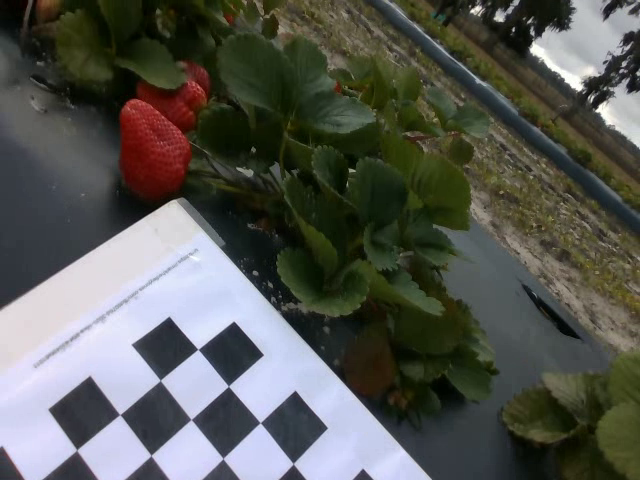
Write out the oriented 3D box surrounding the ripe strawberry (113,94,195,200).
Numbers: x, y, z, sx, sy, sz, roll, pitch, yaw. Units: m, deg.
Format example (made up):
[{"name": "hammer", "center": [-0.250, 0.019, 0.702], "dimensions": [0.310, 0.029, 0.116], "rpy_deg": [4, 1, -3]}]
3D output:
[{"name": "ripe strawberry", "center": [-0.109, -0.062, 0.385], "dimensions": [0.057, 0.056, 0.065], "rpy_deg": [1, -30, 12]}]
